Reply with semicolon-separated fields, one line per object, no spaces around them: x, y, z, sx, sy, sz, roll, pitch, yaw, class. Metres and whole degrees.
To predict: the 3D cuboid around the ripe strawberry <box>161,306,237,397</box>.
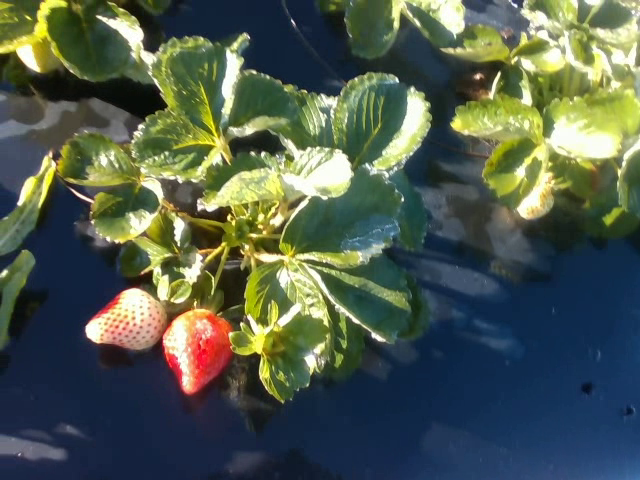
-0.061;0.058;0.307;0.040;0.038;0.056;-16;22;10;ripe strawberry
